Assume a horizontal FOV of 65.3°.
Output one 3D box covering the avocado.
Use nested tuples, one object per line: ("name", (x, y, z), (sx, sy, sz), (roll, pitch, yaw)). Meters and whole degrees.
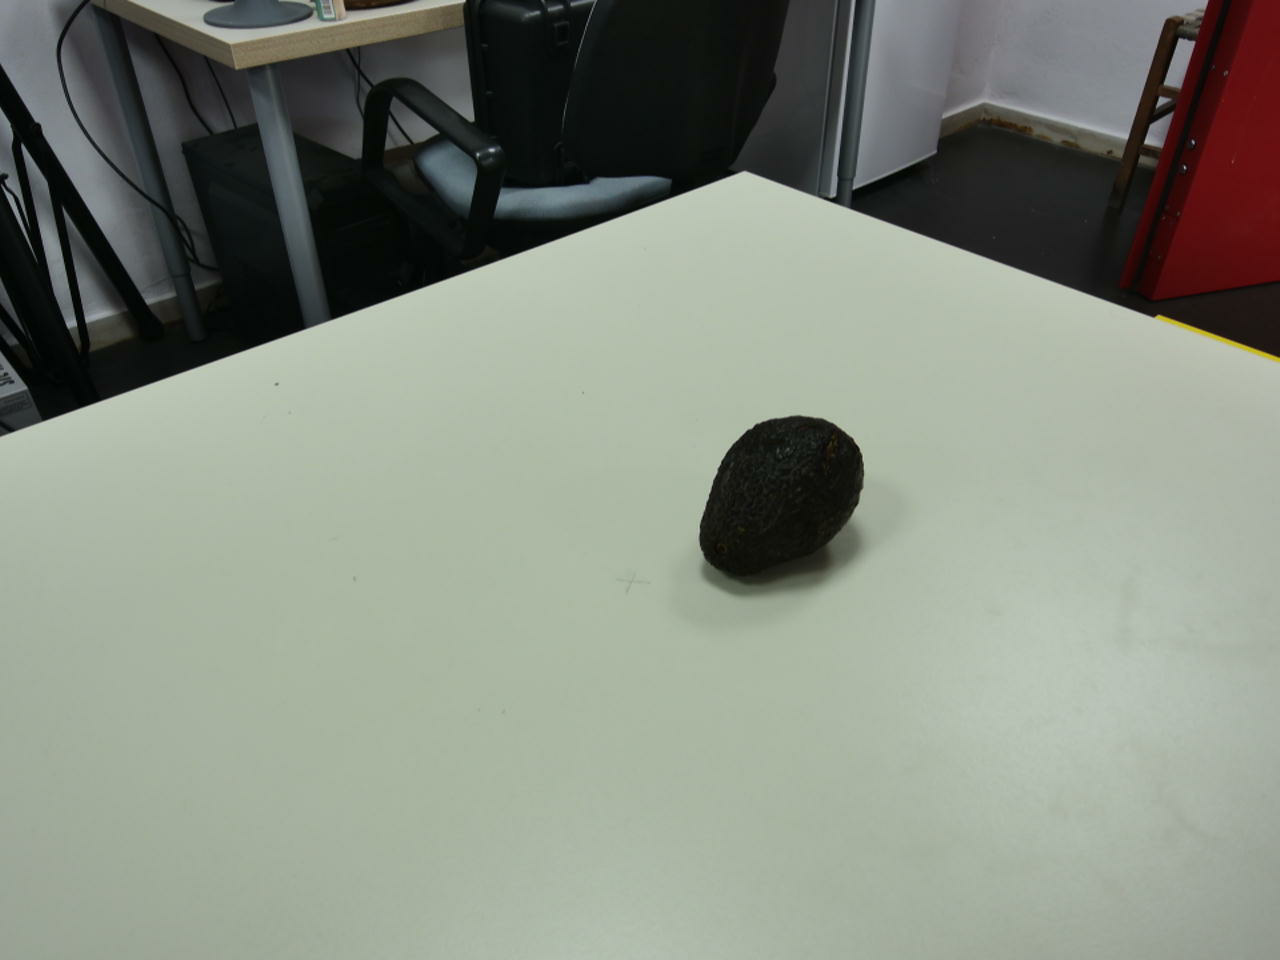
("avocado", (0.070, 0.004, 0.510), (0.090, 0.069, 0.070), (-9, 37, -12))
